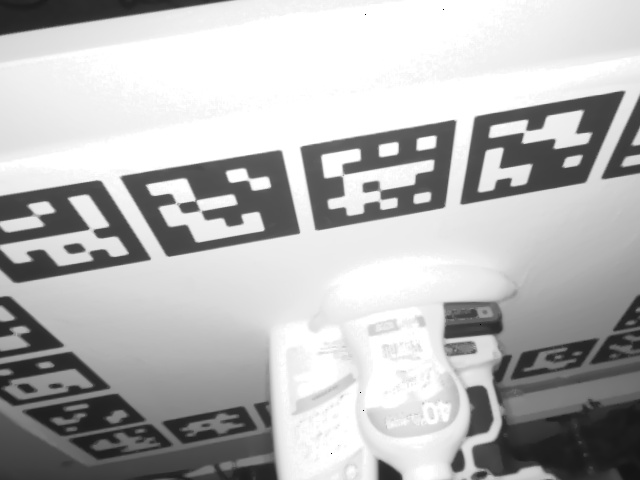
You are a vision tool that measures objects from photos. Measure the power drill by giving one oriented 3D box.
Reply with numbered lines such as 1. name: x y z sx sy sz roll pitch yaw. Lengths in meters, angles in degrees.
1. power drill: 0.120 0.182 0.634 0.186 0.188 0.056 0 142 -12

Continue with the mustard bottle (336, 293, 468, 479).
1. mustard bottle: 0.073 0.129 0.588 0.096 0.192 0.058 -7 142 -3

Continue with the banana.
1. banana: 0.079 0.041 0.619 0.198 0.039 0.073 -7 141 -9

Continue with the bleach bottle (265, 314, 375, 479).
1. bleach bottle: 0.010 0.193 0.614 0.103 0.252 0.067 -7 148 -5
